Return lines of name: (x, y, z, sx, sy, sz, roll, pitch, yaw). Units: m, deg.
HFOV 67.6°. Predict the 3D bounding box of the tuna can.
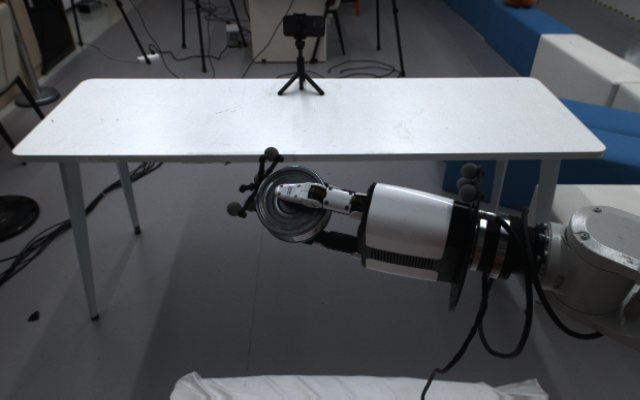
tuna can: (-0.027, 0.003, 0.560, 0.085, 0.034, 0.085, -2, 71, 6)
